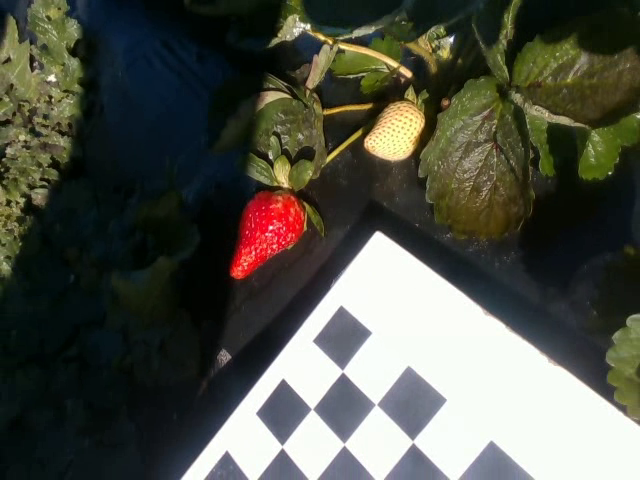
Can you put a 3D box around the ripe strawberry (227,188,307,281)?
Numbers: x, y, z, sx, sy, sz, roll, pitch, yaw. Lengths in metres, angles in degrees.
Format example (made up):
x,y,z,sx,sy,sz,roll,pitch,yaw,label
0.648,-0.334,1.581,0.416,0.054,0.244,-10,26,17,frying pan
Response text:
x,y,z,sx,sy,sz,roll,pitch,yaw,label
-0.034,-0.002,0.354,0.048,0.069,0.040,17,-16,35,ripe strawberry
